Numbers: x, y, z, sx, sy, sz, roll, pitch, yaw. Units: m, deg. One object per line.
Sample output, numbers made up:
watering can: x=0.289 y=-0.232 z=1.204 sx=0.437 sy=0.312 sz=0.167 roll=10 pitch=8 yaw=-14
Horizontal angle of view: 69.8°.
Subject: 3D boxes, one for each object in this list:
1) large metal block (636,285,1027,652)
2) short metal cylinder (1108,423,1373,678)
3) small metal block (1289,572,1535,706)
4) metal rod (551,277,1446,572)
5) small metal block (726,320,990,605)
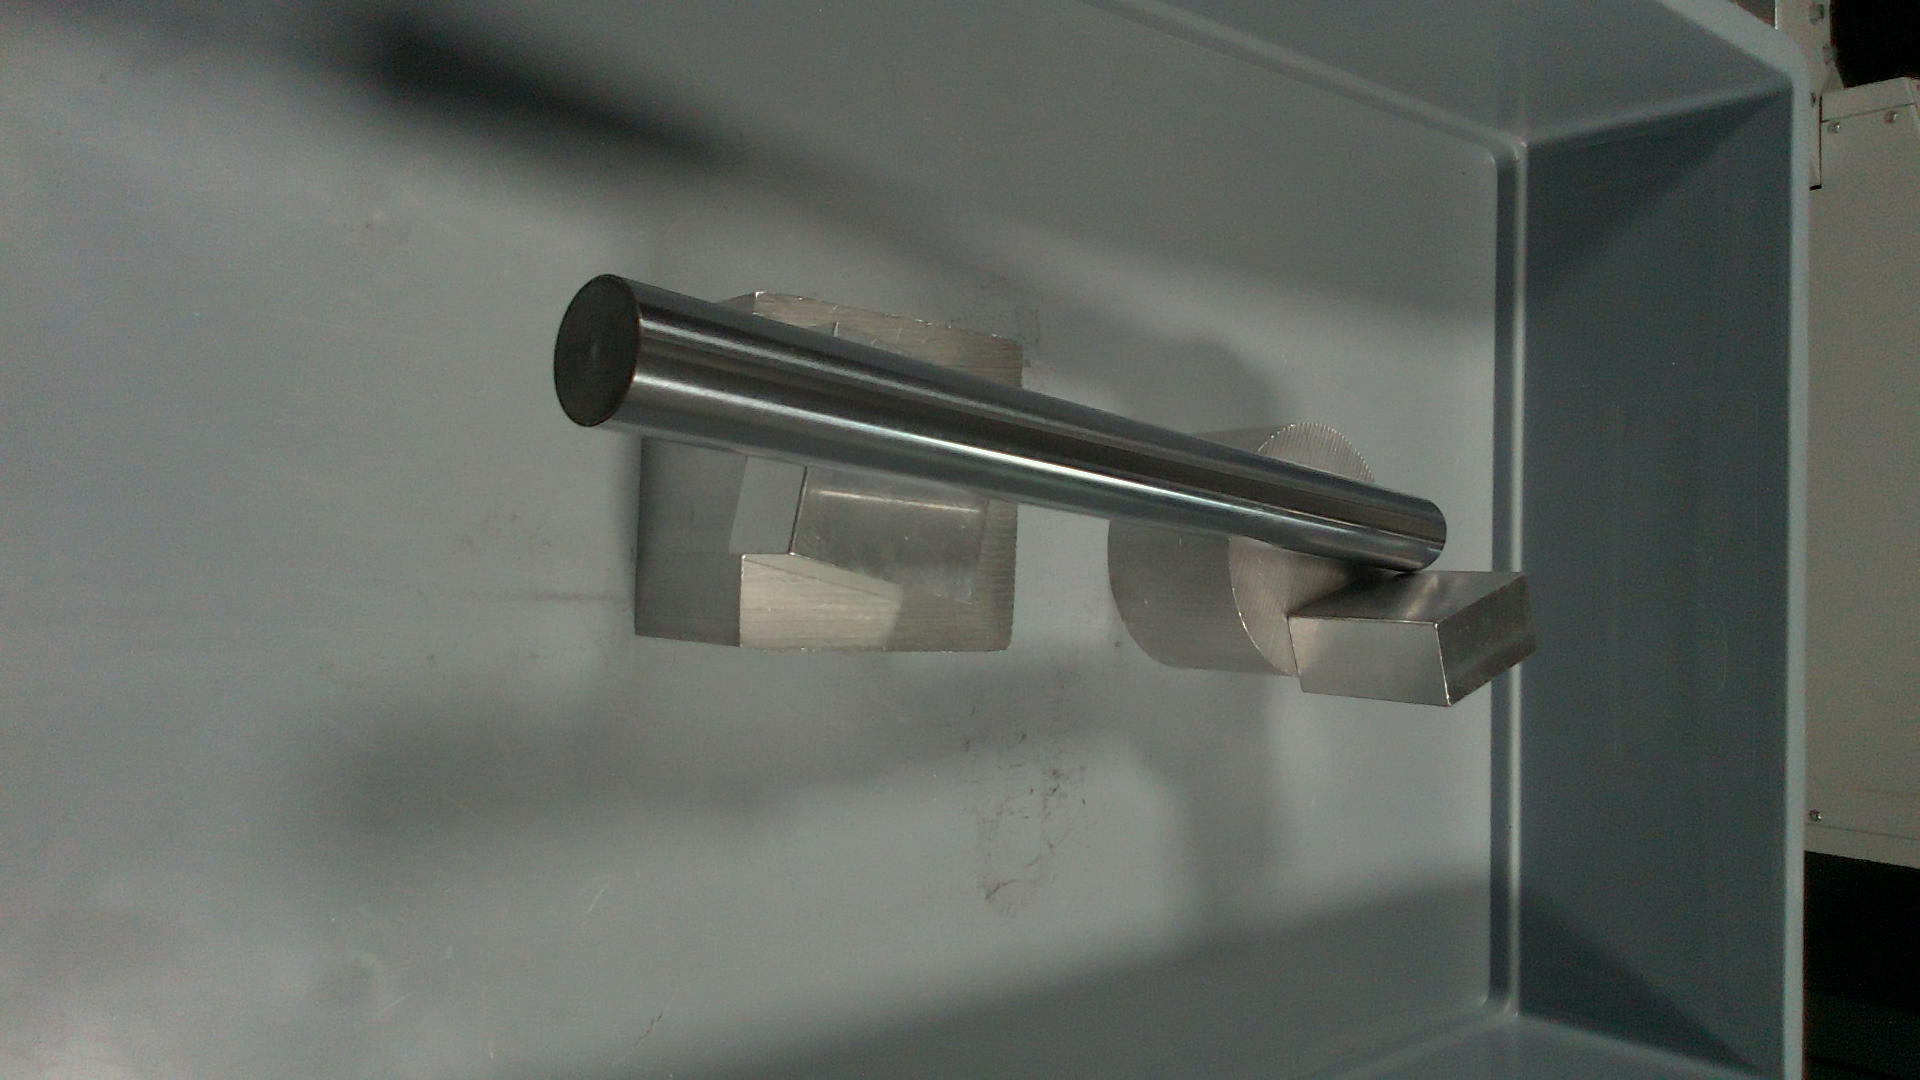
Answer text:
large metal block: x=-0.031 y=-0.014 z=0.344 sx=0.080 sy=0.050 sz=0.080 roll=3 pitch=88 yaw=-40
short metal cylinder: x=0.094 y=0.003 z=0.450 sx=0.080 sy=0.050 sz=0.080 roll=0 pitch=90 yaw=-40
small metal block: x=0.138 y=0.028 z=0.420 sx=0.050 sy=0.050 sz=0.025 roll=-19 pitch=102 yaw=-38
metal rod: x=0.042 y=-0.015 z=0.332 sx=0.301 sy=0.025 sz=0.025 roll=8 pitch=85 yaw=-47
small metal block: x=-0.019 y=-0.015 z=0.306 sx=0.050 sy=0.025 sz=0.050 roll=17 pitch=79 yaw=-39
